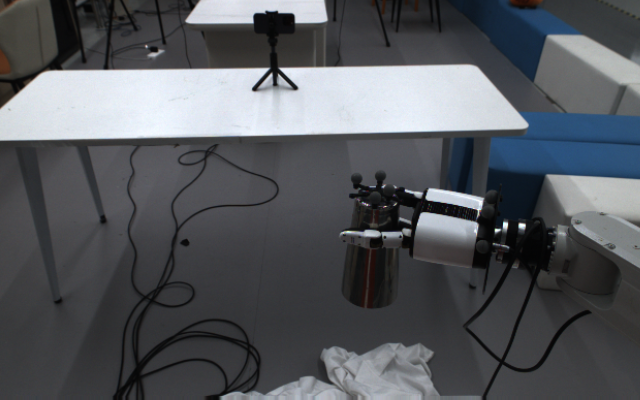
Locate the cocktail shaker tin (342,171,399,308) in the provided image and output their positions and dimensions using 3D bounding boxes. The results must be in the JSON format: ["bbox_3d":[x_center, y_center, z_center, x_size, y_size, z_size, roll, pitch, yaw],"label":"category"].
[{"bbox_3d":[0.085,0.069,0.757,0.093,0.170,0.093,1,27,-1],"label":"cocktail shaker tin"}]
